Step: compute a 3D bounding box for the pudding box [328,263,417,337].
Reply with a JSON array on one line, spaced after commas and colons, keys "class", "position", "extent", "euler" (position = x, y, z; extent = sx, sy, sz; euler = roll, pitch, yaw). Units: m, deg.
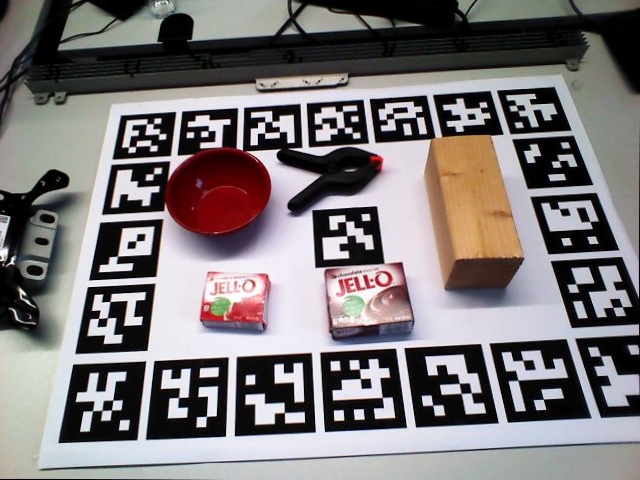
[{"class": "pudding box", "position": [0.068, 0.080, 0.700], "extent": [0.114, 0.039, 0.089], "euler": [-5, 64, 3]}]

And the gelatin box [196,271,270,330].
[{"class": "gelatin box", "position": [-0.118, 0.082, 0.713], "extent": [0.089, 0.030, 0.073], "euler": [3, 62, 5]}]

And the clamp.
[{"class": "clamp", "position": [0.009, -0.107, 0.820], "extent": [0.165, 0.037, 0.121], "euler": [-12, 60, -6]}]

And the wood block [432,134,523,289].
[{"class": "wood block", "position": [0.221, -0.043, 0.730], "extent": [0.090, 0.091, 0.205], "euler": [-1, 60, 1]}]

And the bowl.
[{"class": "bowl", "position": [-0.151, -0.066, 0.794], "extent": [0.162, 0.055, 0.161], "euler": [-1, 63, 2]}]
